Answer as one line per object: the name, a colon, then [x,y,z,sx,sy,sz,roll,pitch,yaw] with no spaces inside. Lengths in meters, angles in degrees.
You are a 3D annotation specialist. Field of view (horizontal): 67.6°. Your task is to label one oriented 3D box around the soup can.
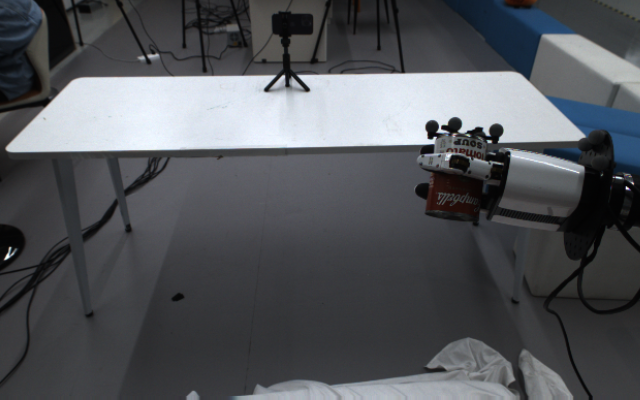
soup can: [0.176,-0.028,0.618,0.067,0.101,0.067,9,-6,1]
